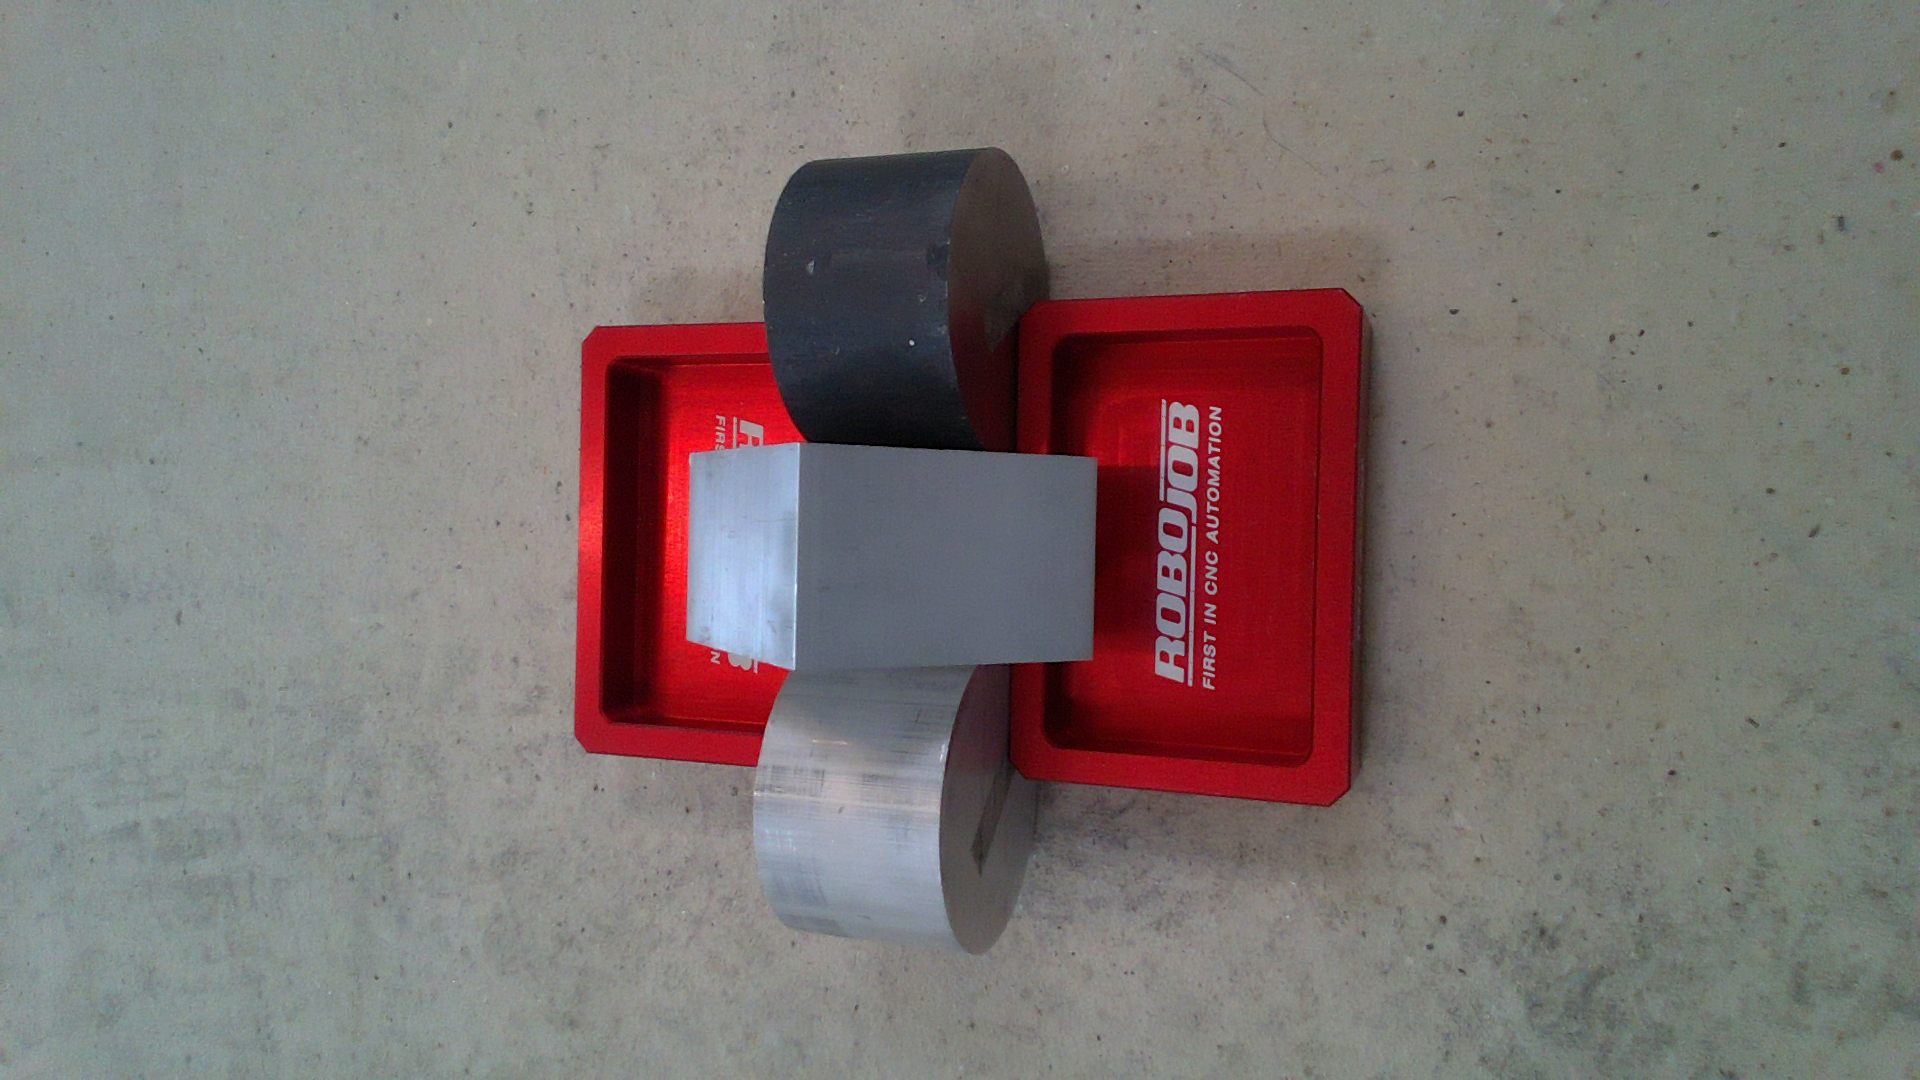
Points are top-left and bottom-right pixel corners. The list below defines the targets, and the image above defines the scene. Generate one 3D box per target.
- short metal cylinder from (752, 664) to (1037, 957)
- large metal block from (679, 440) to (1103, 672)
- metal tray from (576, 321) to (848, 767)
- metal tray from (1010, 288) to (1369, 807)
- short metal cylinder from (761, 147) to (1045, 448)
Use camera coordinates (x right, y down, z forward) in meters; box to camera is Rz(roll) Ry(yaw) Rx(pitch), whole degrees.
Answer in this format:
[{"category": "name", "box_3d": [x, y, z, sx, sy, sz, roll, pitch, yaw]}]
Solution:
[{"category": "short metal cylinder", "box_3d": [-0.014, 0.068, 0.372, 0.050, 0.080, 0.080, 2, 91, 20]}, {"category": "large metal block", "box_3d": [-0.020, 0.003, 0.352, 0.080, 0.080, 0.050, 3, 92, 60]}, {"category": "metal tray", "box_3d": [-0.069, 0.001, 0.419, 0.090, 0.030, 0.130, 2, 91, 20]}, {"category": "metal tray", "box_3d": [0.062, 0.001, 0.371, 0.090, 0.030, 0.130, 2, 91, 20]}, {"category": "short metal cylinder", "box_3d": [-0.012, -0.063, 0.371, 0.050, 0.080, 0.080, 2, 91, 20]}]
